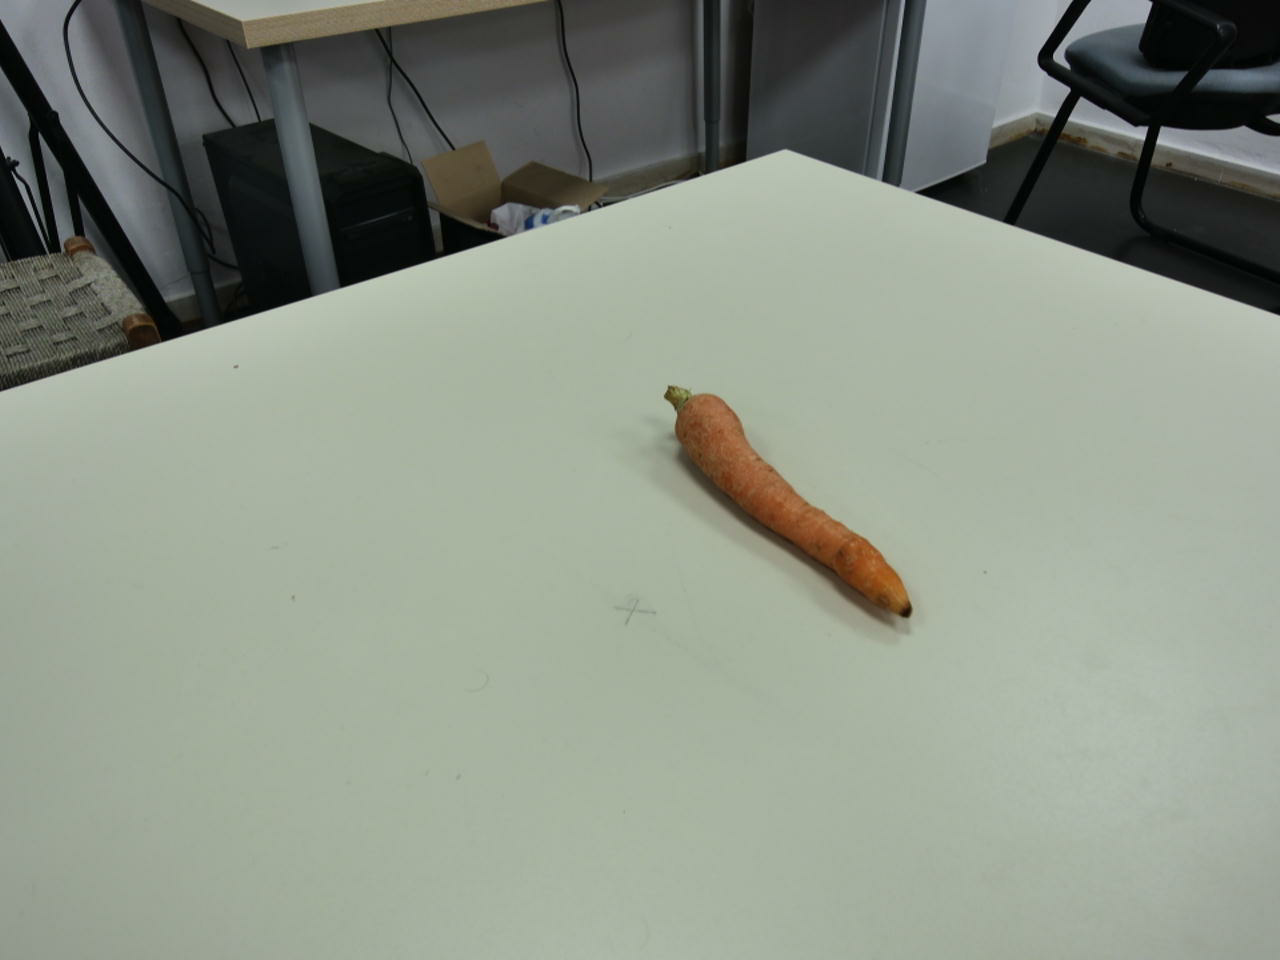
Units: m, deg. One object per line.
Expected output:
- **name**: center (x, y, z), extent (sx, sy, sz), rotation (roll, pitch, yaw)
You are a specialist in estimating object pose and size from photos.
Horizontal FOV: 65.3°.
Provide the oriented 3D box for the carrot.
- **carrot**: center (0.059, 0.004, 0.443), extent (0.030, 0.032, 0.173), rotation (-18, 38, -22)
